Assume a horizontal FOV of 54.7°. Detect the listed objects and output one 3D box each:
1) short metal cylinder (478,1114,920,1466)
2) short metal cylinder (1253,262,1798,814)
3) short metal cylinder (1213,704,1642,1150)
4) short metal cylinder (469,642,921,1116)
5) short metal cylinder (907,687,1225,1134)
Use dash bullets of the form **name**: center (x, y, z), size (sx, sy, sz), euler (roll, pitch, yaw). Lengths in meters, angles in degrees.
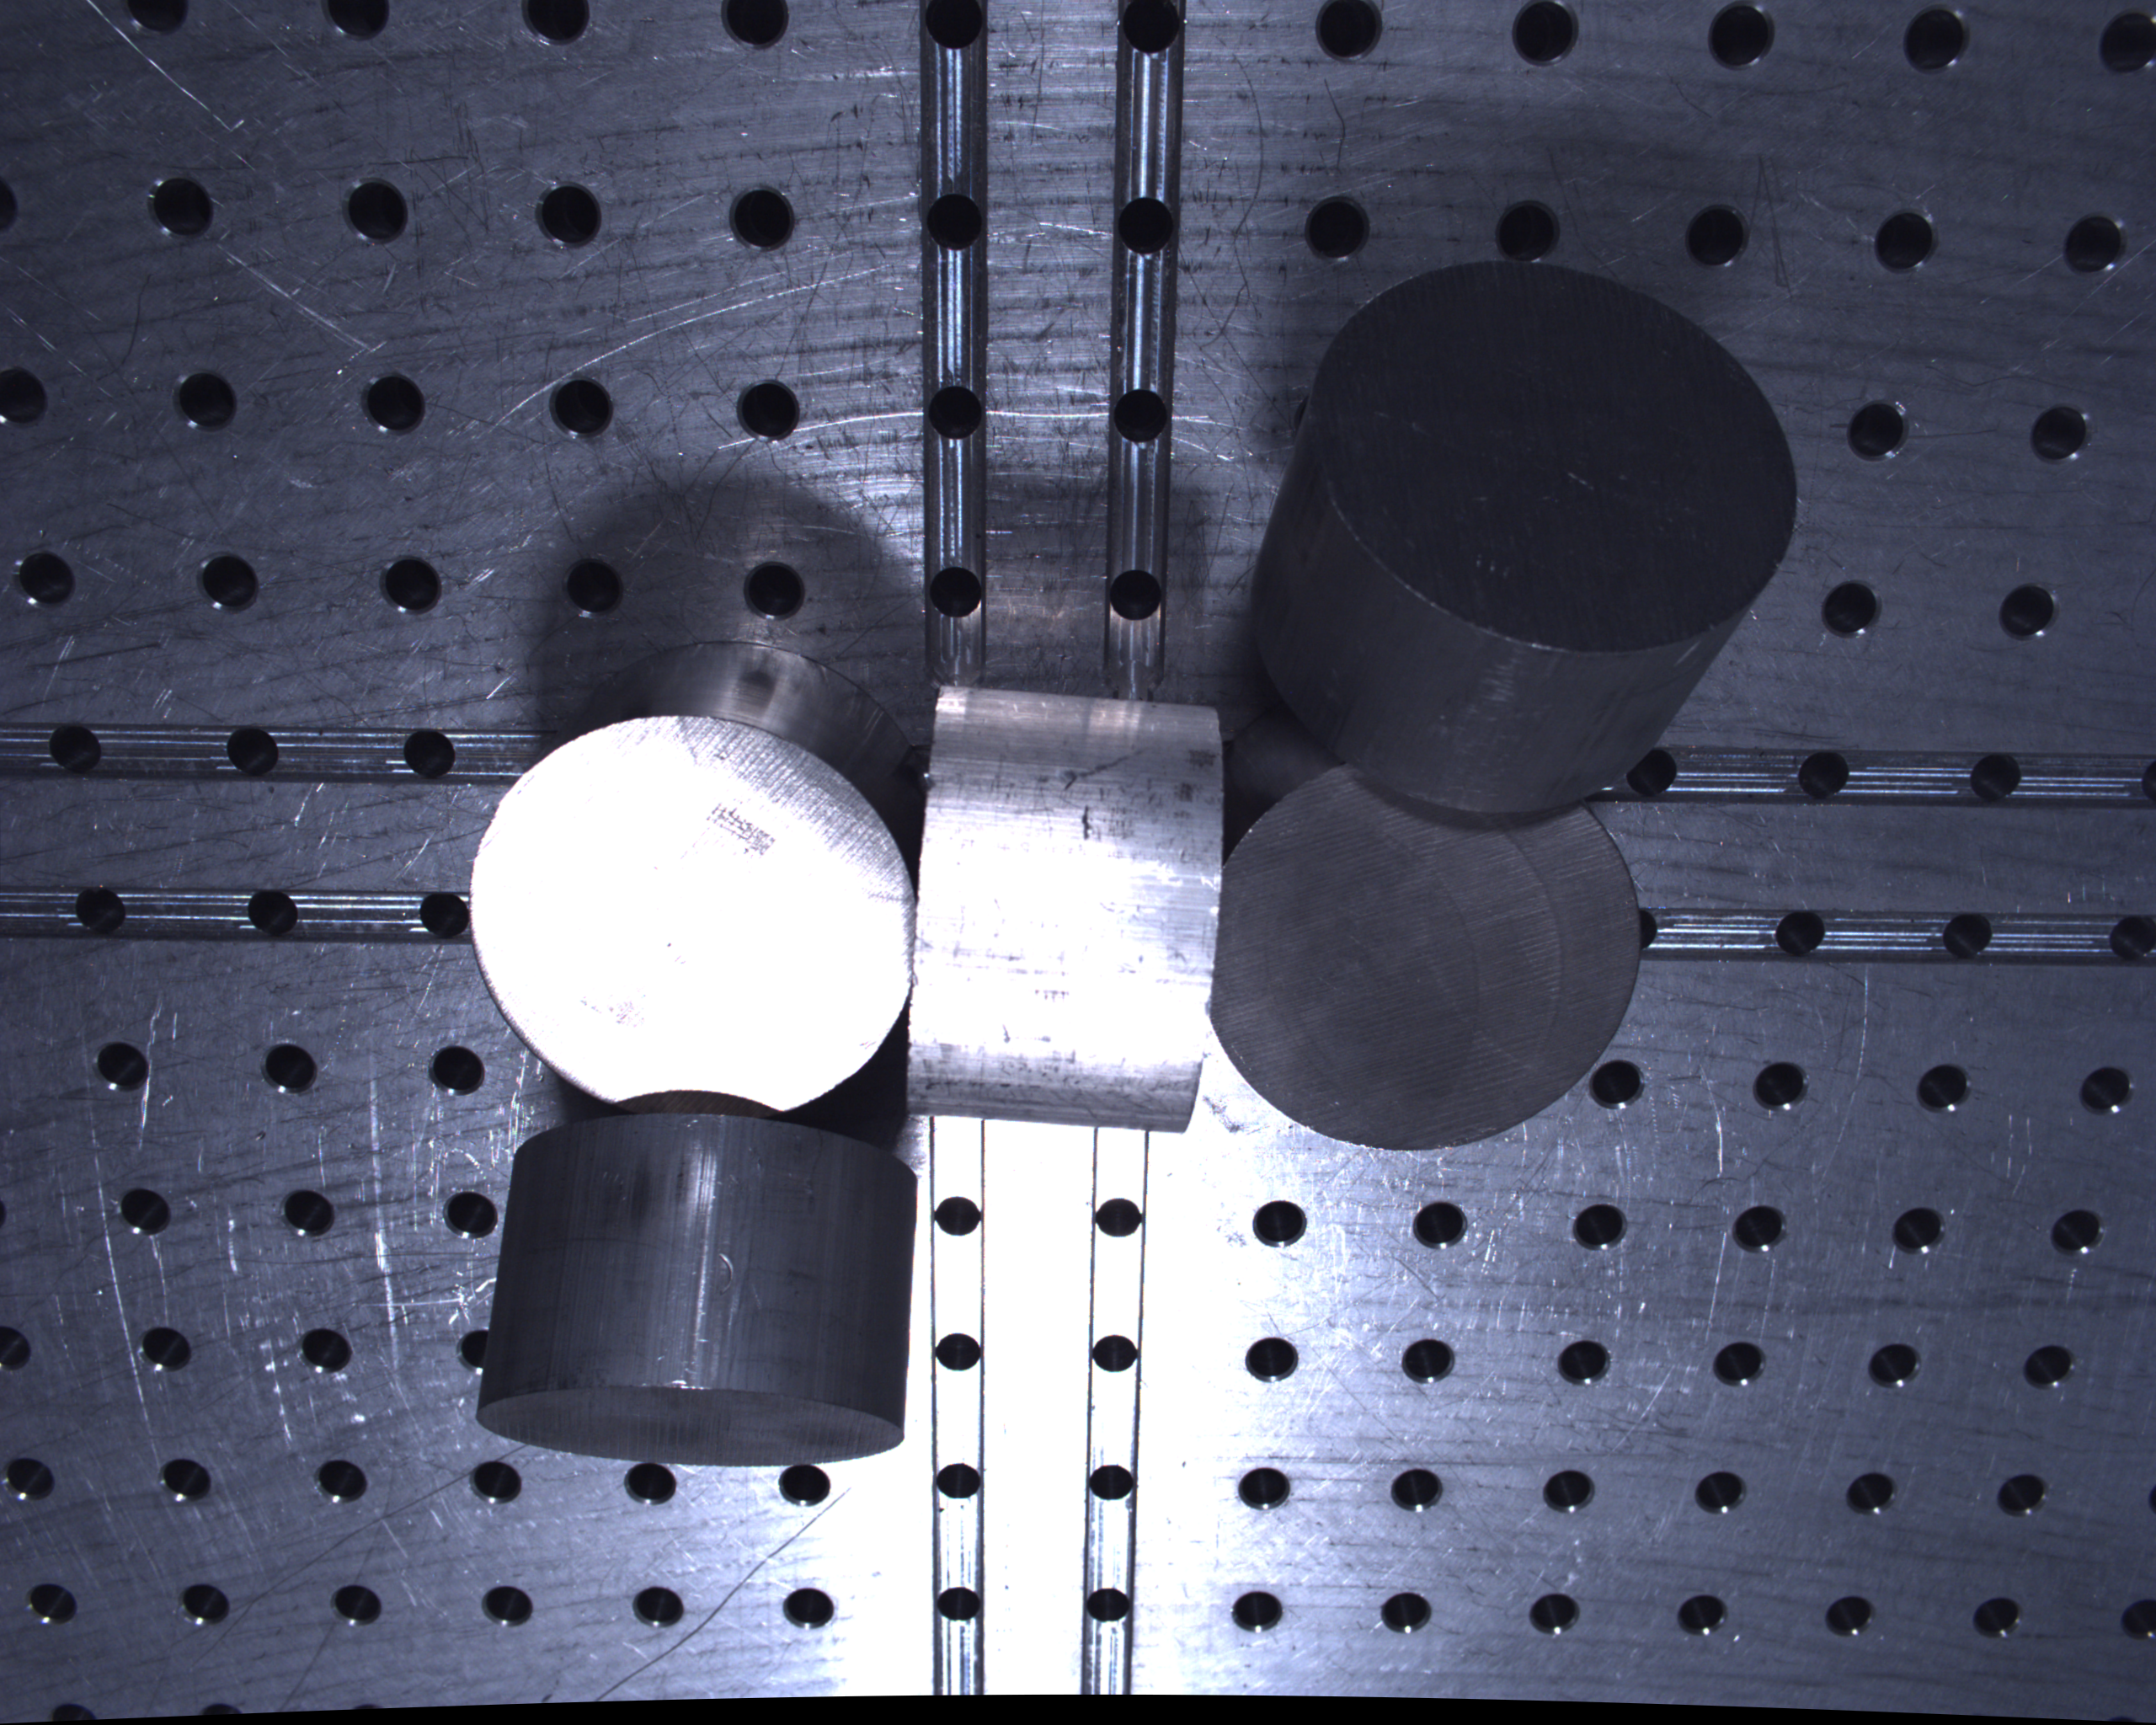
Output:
- **short metal cylinder**: center (-0.073, 0.086, 0.409), size (0.081, 0.050, 0.080), euler (1, 154, 1)
- **short metal cylinder**: center (0.074, -0.055, 0.358), size (0.081, 0.080, 0.050), euler (8, 151, -4)
- **short metal cylinder**: center (0.062, 0.008, 0.403), size (0.081, 0.050, 0.079), euler (0, 110, -1)
- **short metal cylinder**: center (-0.069, 0.003, 0.399), size (0.081, 0.050, 0.079), euler (0, 110, -1)
- **short metal cylinder**: center (-0.003, 0.009, 0.387), size (0.050, 0.080, 0.079), euler (5, 110, -2)
